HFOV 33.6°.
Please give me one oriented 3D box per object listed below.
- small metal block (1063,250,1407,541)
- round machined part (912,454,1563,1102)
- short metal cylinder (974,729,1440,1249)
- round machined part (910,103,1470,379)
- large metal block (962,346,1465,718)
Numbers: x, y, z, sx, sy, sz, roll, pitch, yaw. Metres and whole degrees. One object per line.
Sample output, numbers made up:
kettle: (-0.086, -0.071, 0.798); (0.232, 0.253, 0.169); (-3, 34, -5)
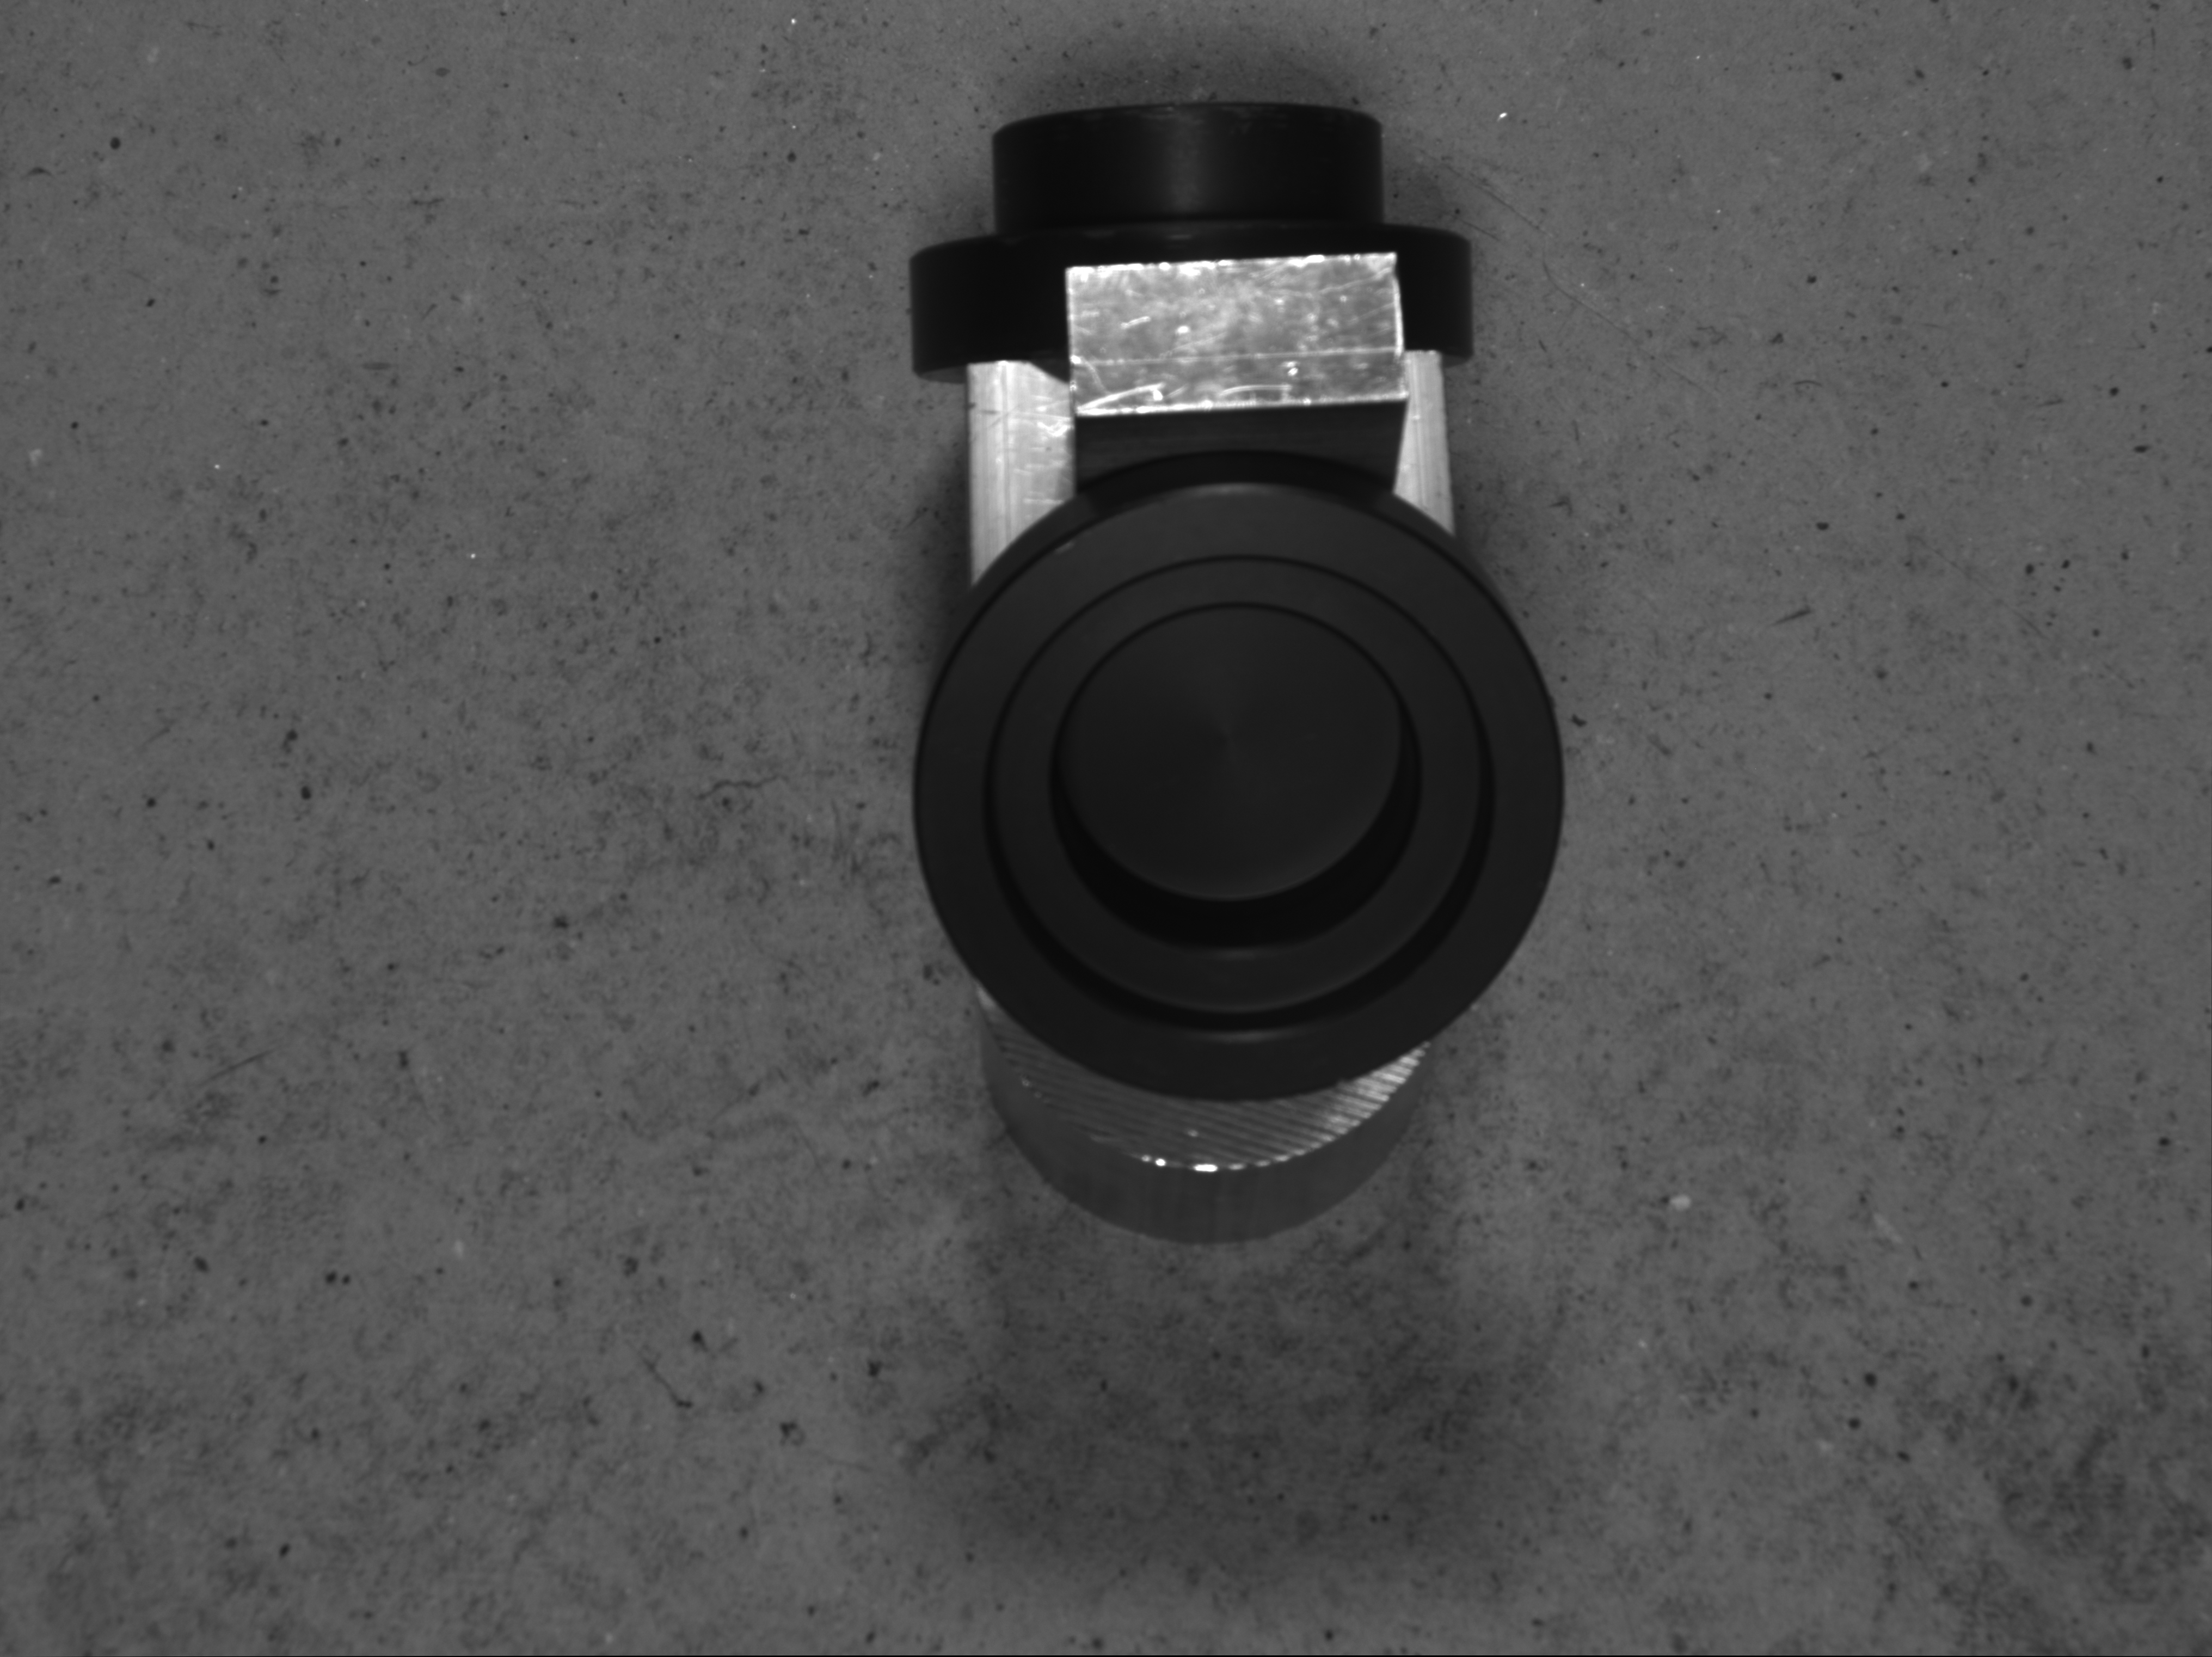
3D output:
small metal block: (0.019, -0.066, 0.570); (0.050, 0.050, 0.025); (-3, 69, -1)
round machined part: (0.020, -0.010, 0.569); (0.098, 0.042, 0.098); (0, 108, -1)
short metal cylinder: (0.018, 0.026, 0.623); (0.080, 0.050, 0.080); (0, 70, 0)
round machined part: (0.014, -0.101, 0.639); (0.098, 0.098, 0.042); (-2, 95, -1)
large metal block: (0.017, -0.041, 0.630); (0.080, 0.080, 0.050); (-2, 70, -1)
